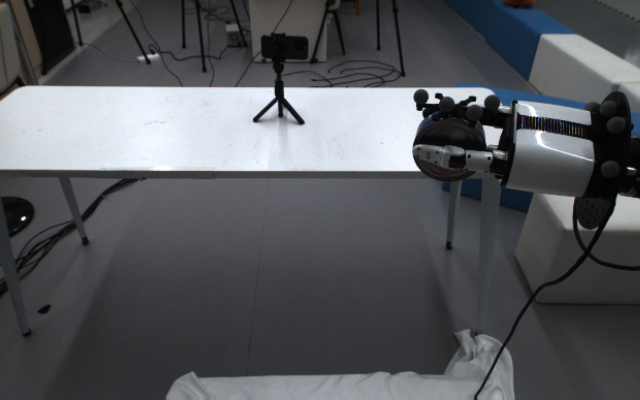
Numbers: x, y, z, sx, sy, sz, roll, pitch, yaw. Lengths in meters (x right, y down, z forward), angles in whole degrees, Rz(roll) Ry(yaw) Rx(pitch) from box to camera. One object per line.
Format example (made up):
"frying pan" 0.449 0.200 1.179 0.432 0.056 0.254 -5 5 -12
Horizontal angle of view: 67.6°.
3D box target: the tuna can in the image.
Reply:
"tuna can" 0.160 -0.070 0.592 0.085 0.085 0.034 10 34 11
